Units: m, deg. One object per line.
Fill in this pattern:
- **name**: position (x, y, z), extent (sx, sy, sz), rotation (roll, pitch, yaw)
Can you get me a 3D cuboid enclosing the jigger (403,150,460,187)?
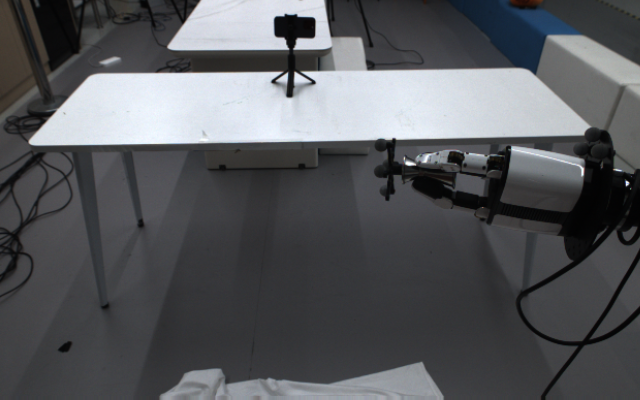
- **jigger**: position (0.152, -0.043, 0.642), extent (0.071, 0.043, 0.043), rotation (3, 34, 16)
